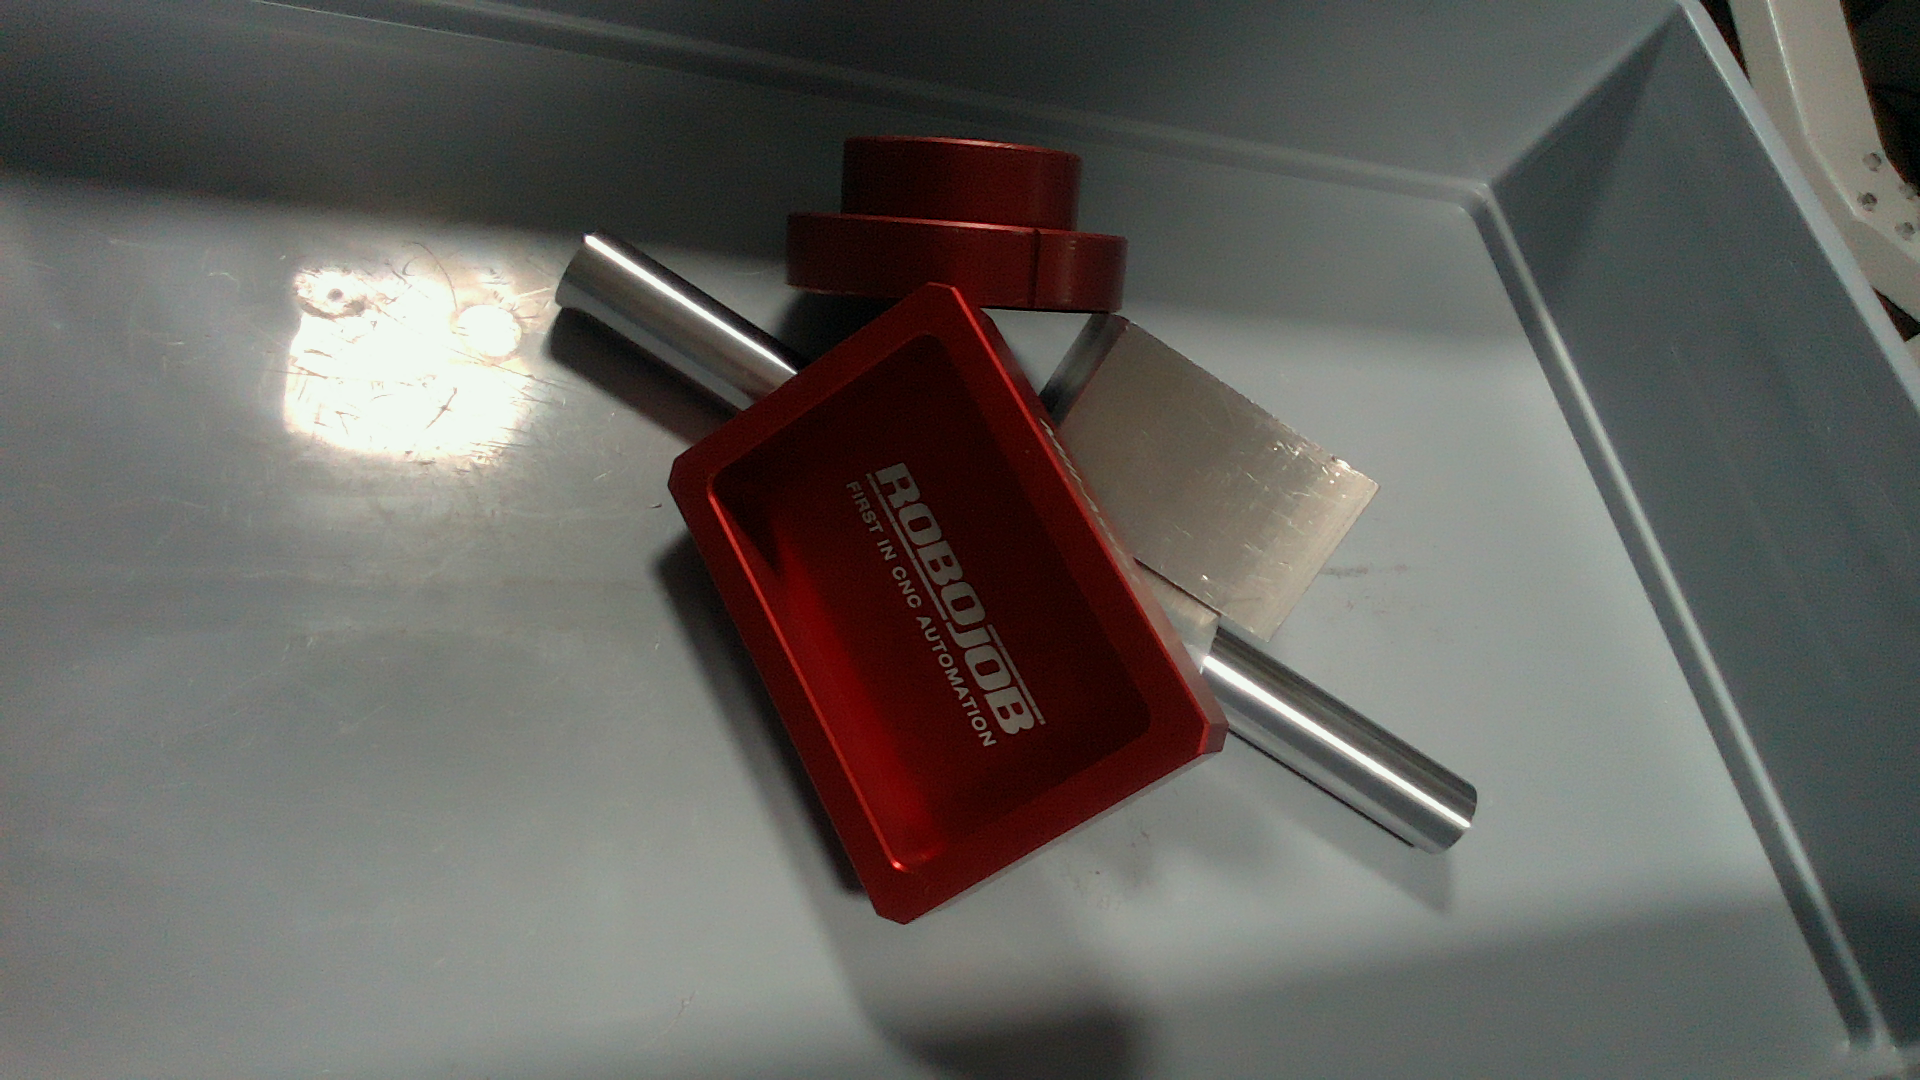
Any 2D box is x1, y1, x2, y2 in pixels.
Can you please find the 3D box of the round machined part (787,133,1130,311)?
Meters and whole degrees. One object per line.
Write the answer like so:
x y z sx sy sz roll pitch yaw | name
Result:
0.000 -0.091 0.395 0.098 0.098 0.042 -2 103 -29 | round machined part

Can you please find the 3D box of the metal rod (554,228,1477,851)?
0.021 0.004 0.397 0.300 0.025 0.025 32 51 -7 | metal rod

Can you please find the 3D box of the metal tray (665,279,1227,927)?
-0.005 0.014 0.337 0.130 0.090 0.030 61 13 16 | metal tray

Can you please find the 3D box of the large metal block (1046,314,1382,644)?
0.061 -0.022 0.393 0.080 0.050 0.080 32 9 -7 | large metal block

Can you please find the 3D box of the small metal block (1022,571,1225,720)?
0.036 0.026 0.375 0.050 0.050 0.025 33 51 -7 | small metal block
